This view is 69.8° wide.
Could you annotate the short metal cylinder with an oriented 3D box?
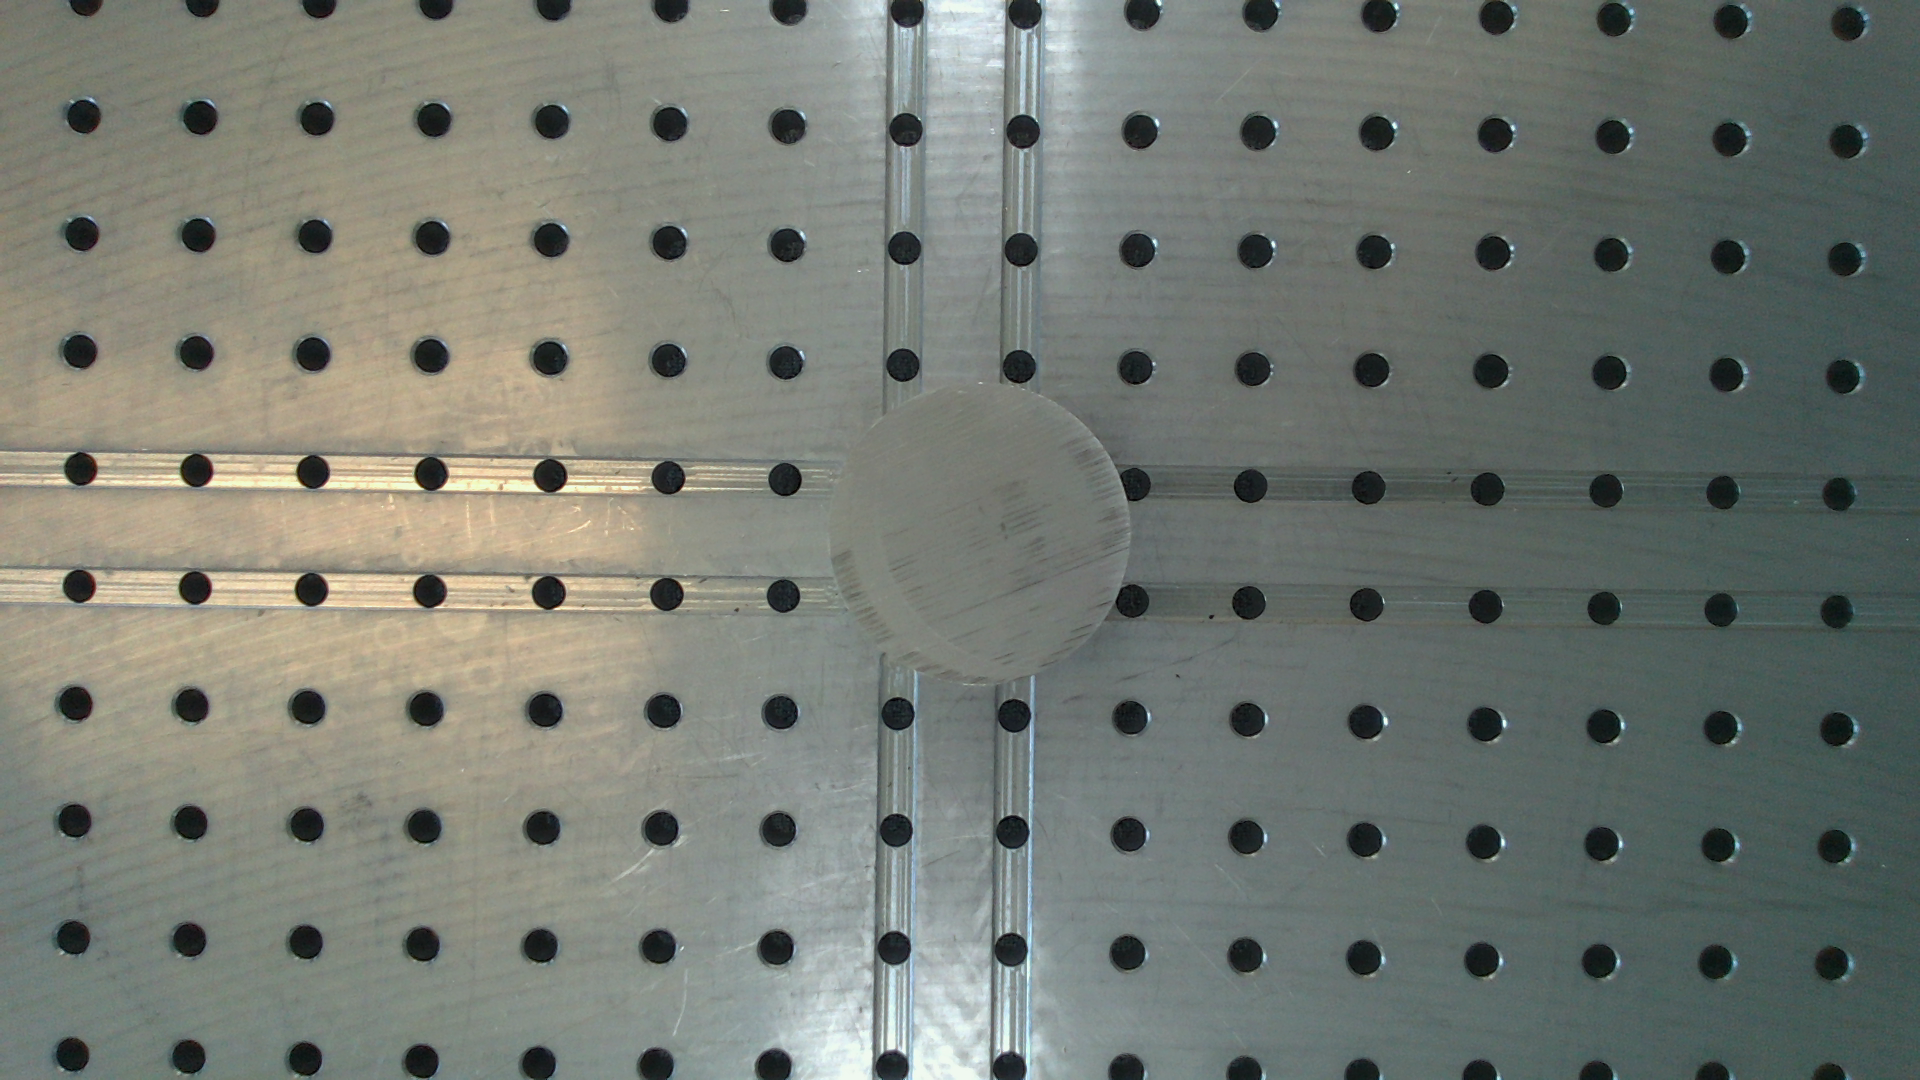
[{"bbox_3d":[0.005,-0.001,0.385,0.080,0.050,0.080,0,90,0],"label":"short metal cylinder"}]
